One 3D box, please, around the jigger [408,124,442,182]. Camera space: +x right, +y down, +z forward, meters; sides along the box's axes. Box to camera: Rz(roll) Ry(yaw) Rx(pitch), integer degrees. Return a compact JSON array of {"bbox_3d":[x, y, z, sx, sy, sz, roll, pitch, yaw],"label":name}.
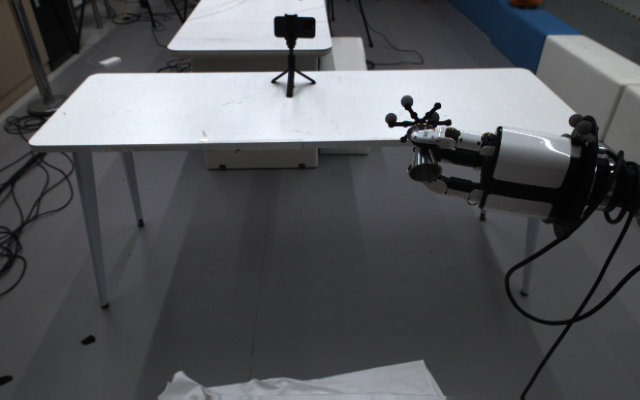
[{"bbox_3d":[0.140,-0.068,0.656,0.043,0.043,0.071,2,59,-1],"label":"jigger"}]
